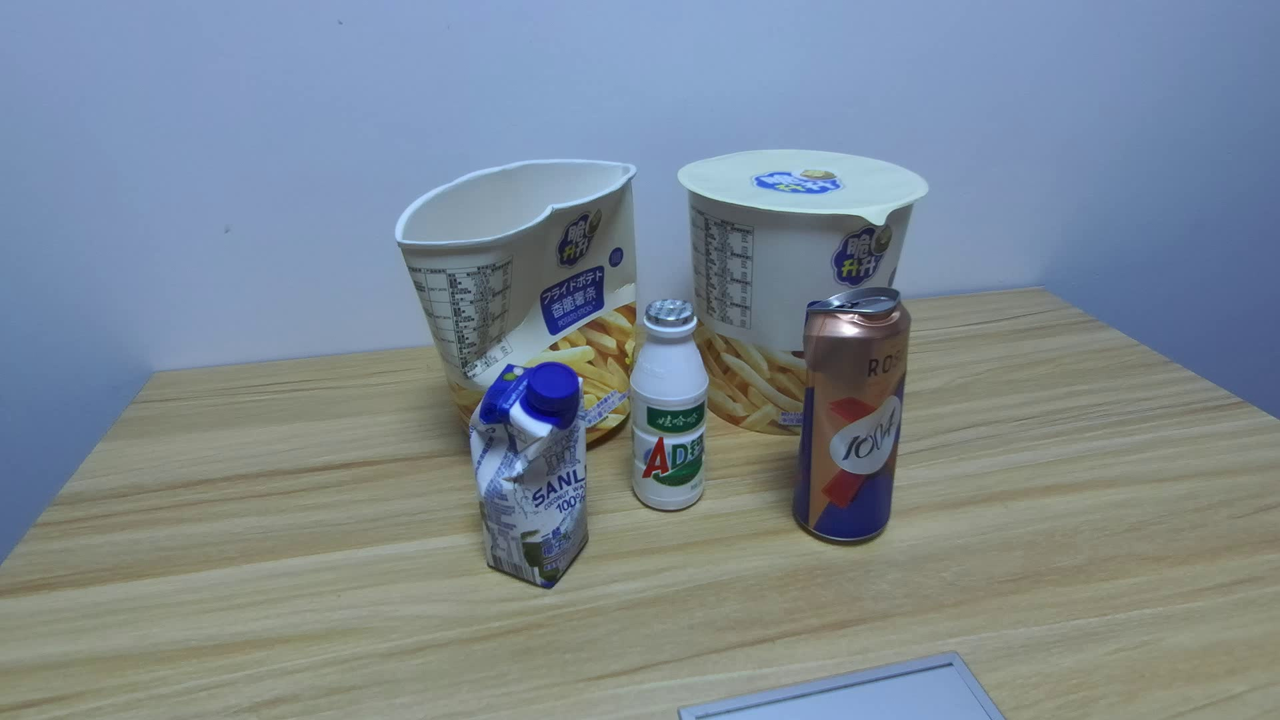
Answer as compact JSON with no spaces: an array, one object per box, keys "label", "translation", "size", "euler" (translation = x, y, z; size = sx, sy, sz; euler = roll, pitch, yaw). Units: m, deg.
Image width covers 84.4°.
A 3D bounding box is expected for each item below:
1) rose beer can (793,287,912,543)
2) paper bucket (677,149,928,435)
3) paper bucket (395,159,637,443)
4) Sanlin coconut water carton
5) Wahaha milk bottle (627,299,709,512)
[{"label":"rose beer can","translation":[0.136,0.036,0.452],"size":[0.070,0.168,0.069],"euler":[-1,27,7]},{"label":"paper bucket","translation":[0.125,-0.058,0.592],"size":[0.198,0.195,0.198],"euler":[0,29,1]},{"label":"paper bucket","translation":[-0.077,-0.044,0.562],"size":[0.147,0.199,0.217],"euler":[1,29,3]},{"label":"Sanlin coconut water carton","translation":[-0.067,0.066,0.427],"size":[0.069,0.144,0.061],"euler":[13,32,22]},{"label":"Wahaha milk bottle","translation":[0.020,0.032,0.478],"size":[0.053,0.147,0.053],"euler":[0,29,0]}]
